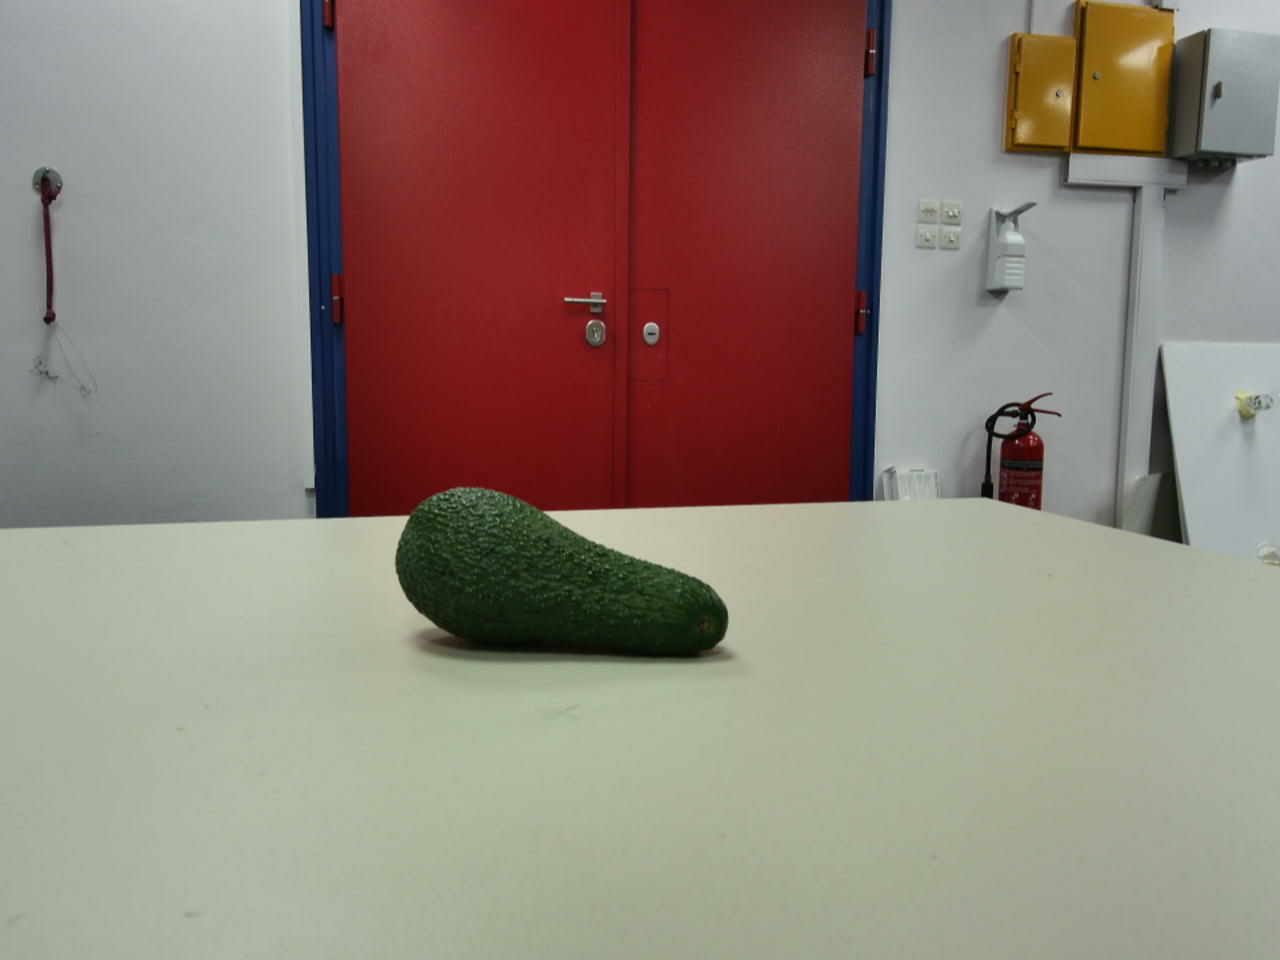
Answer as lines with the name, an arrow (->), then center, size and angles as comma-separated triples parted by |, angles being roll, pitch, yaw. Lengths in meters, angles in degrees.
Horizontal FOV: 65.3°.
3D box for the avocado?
avocado -> -0.033, 0.036, 0.421 | 0.141, 0.067, 0.063 | 0, 4, 2
